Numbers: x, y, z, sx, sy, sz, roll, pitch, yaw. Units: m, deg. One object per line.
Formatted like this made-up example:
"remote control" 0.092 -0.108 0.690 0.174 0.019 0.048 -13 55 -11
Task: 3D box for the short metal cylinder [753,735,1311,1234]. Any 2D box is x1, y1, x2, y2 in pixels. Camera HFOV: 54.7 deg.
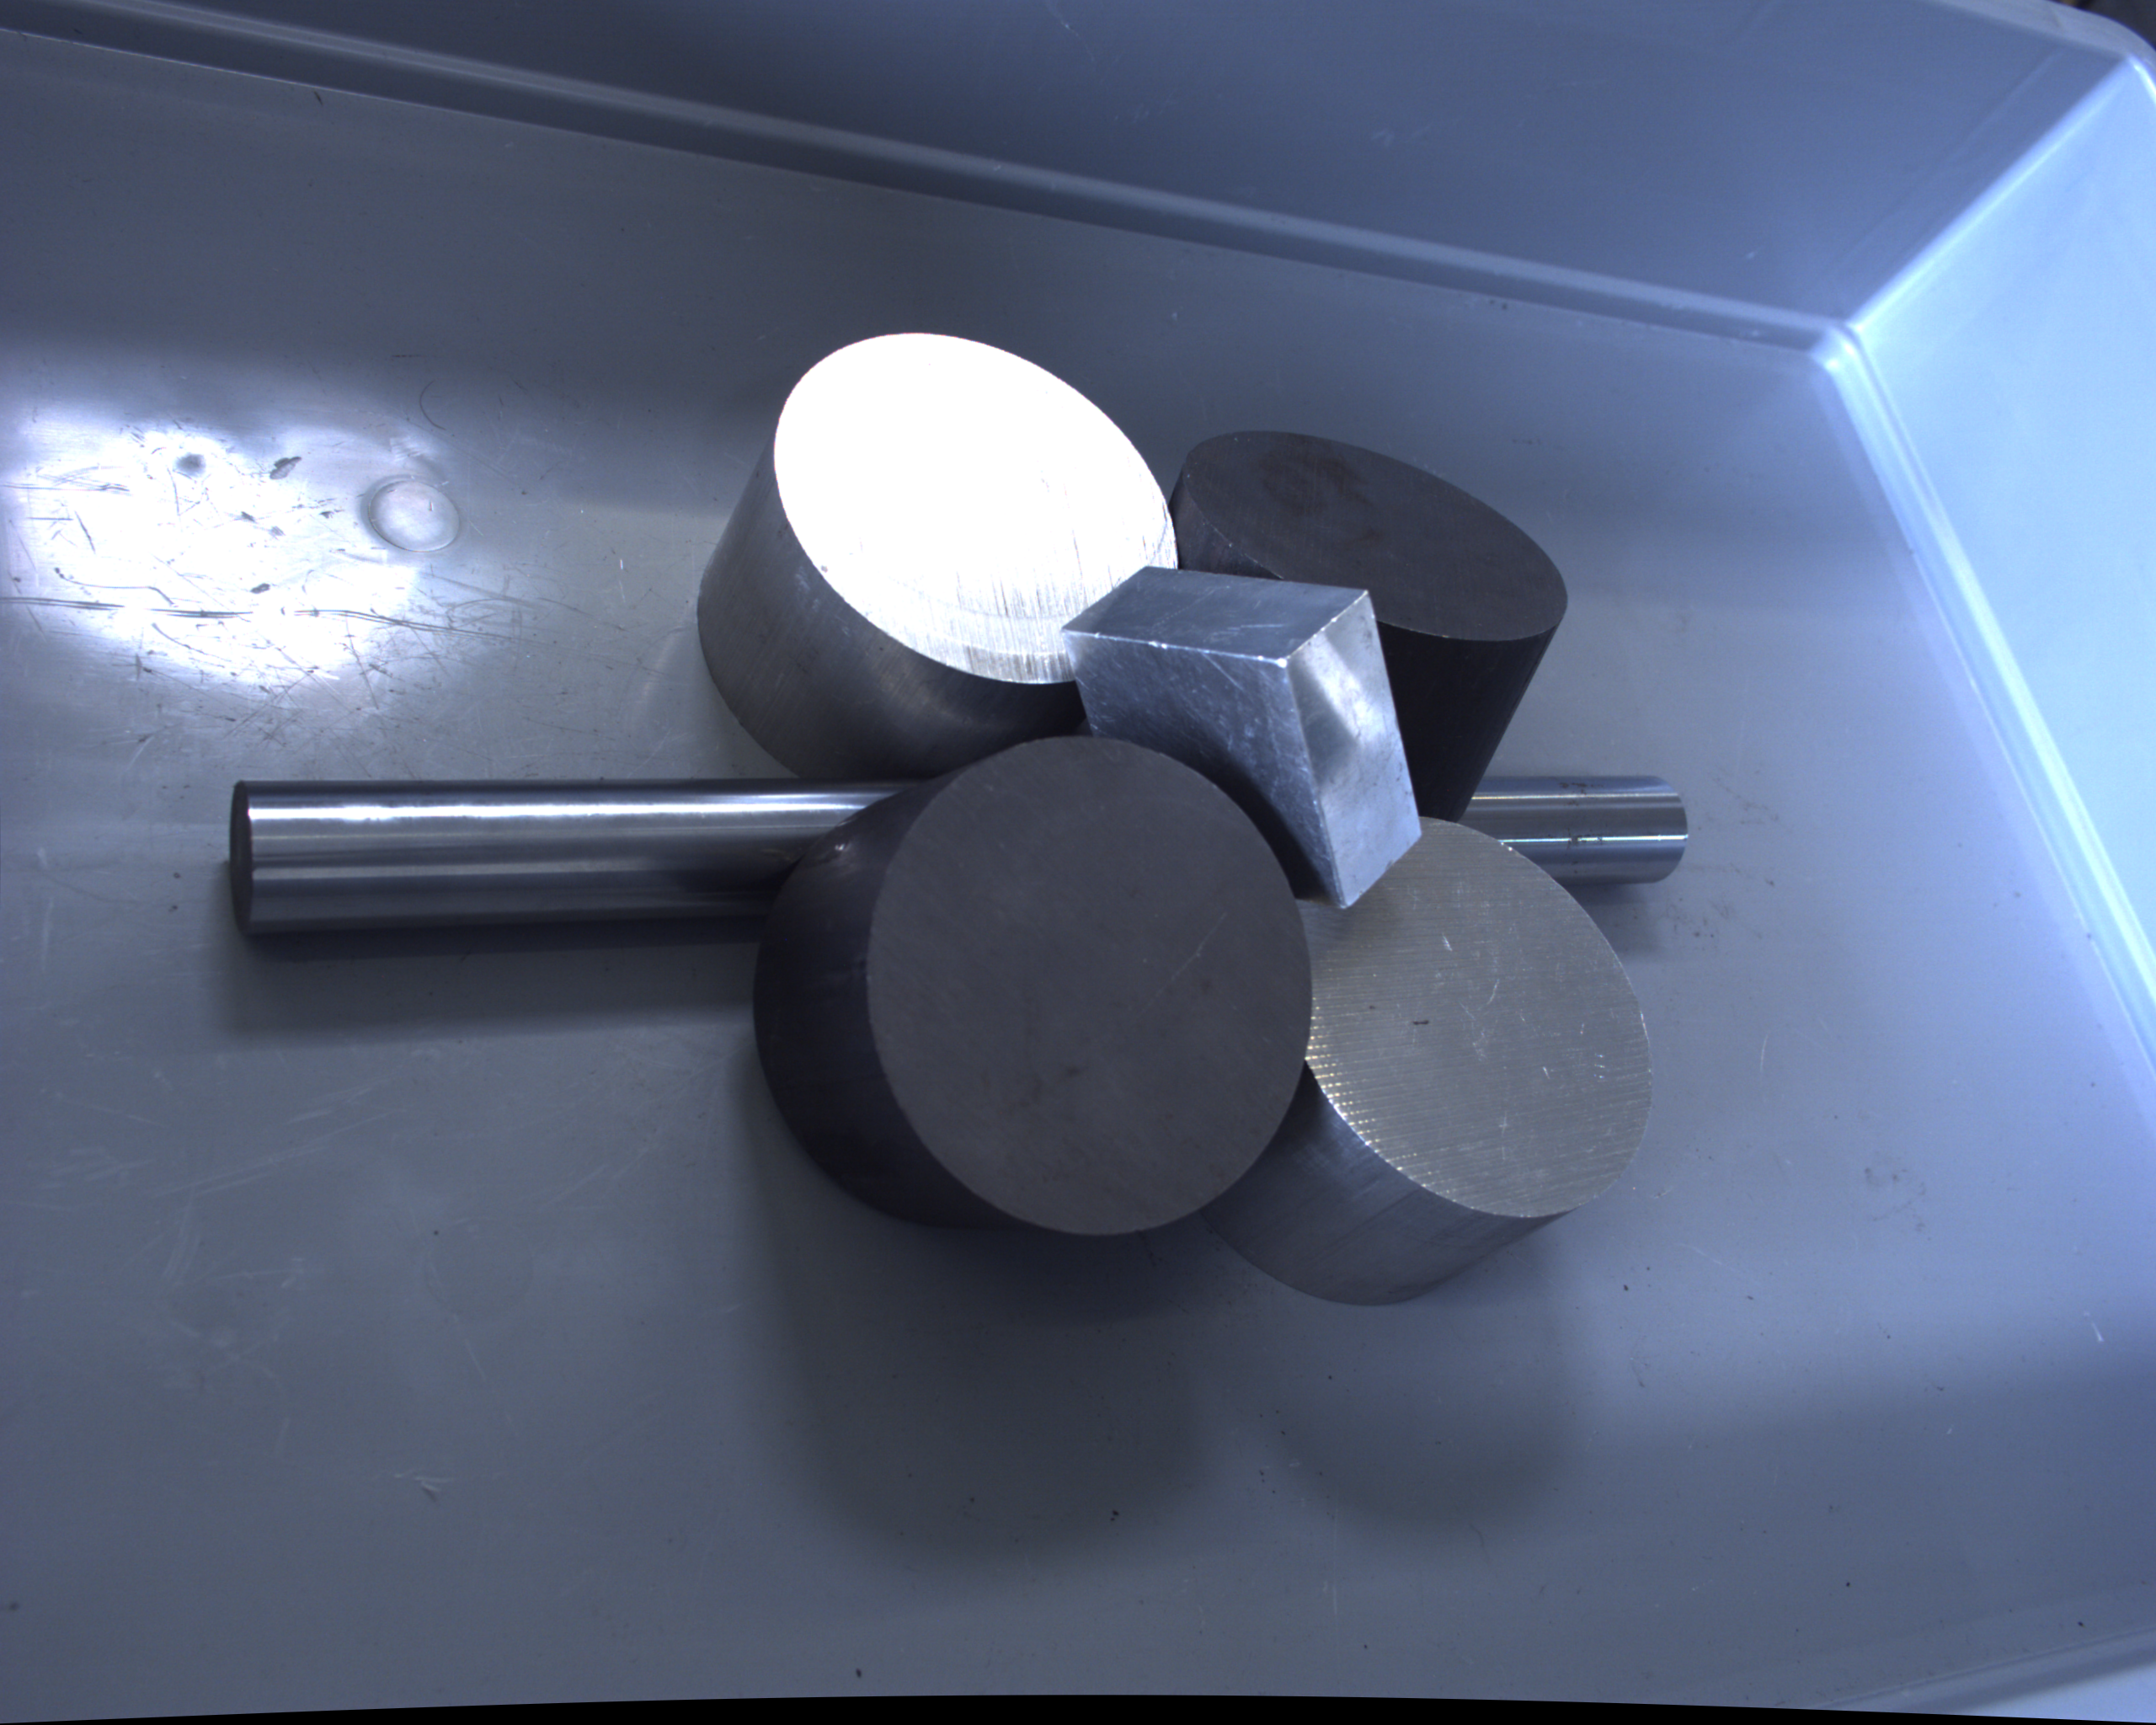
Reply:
"short metal cylinder" -0.008 0.022 0.354 0.081 0.050 0.080 5 80 -28

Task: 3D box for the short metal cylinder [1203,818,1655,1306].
"short metal cylinder" 0.061 0.038 0.397 0.081 0.050 0.080 14 56 -21

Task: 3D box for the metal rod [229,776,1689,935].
"metal rod" -0.001 -0.004 0.405 0.303 0.025 0.025 -2 63 -29

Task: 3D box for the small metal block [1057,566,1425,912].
"small metal block" 0.029 -0.023 0.372 0.025 0.050 0.050 -41 128 -33

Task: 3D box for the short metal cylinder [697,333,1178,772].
"short metal cylinder" -0.028 -0.055 0.406 0.081 0.050 0.080 14 56 -21

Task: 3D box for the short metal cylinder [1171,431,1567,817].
"short metal cylinder" 0.052 -0.047 0.427 0.081 0.050 0.080 14 34 -9
